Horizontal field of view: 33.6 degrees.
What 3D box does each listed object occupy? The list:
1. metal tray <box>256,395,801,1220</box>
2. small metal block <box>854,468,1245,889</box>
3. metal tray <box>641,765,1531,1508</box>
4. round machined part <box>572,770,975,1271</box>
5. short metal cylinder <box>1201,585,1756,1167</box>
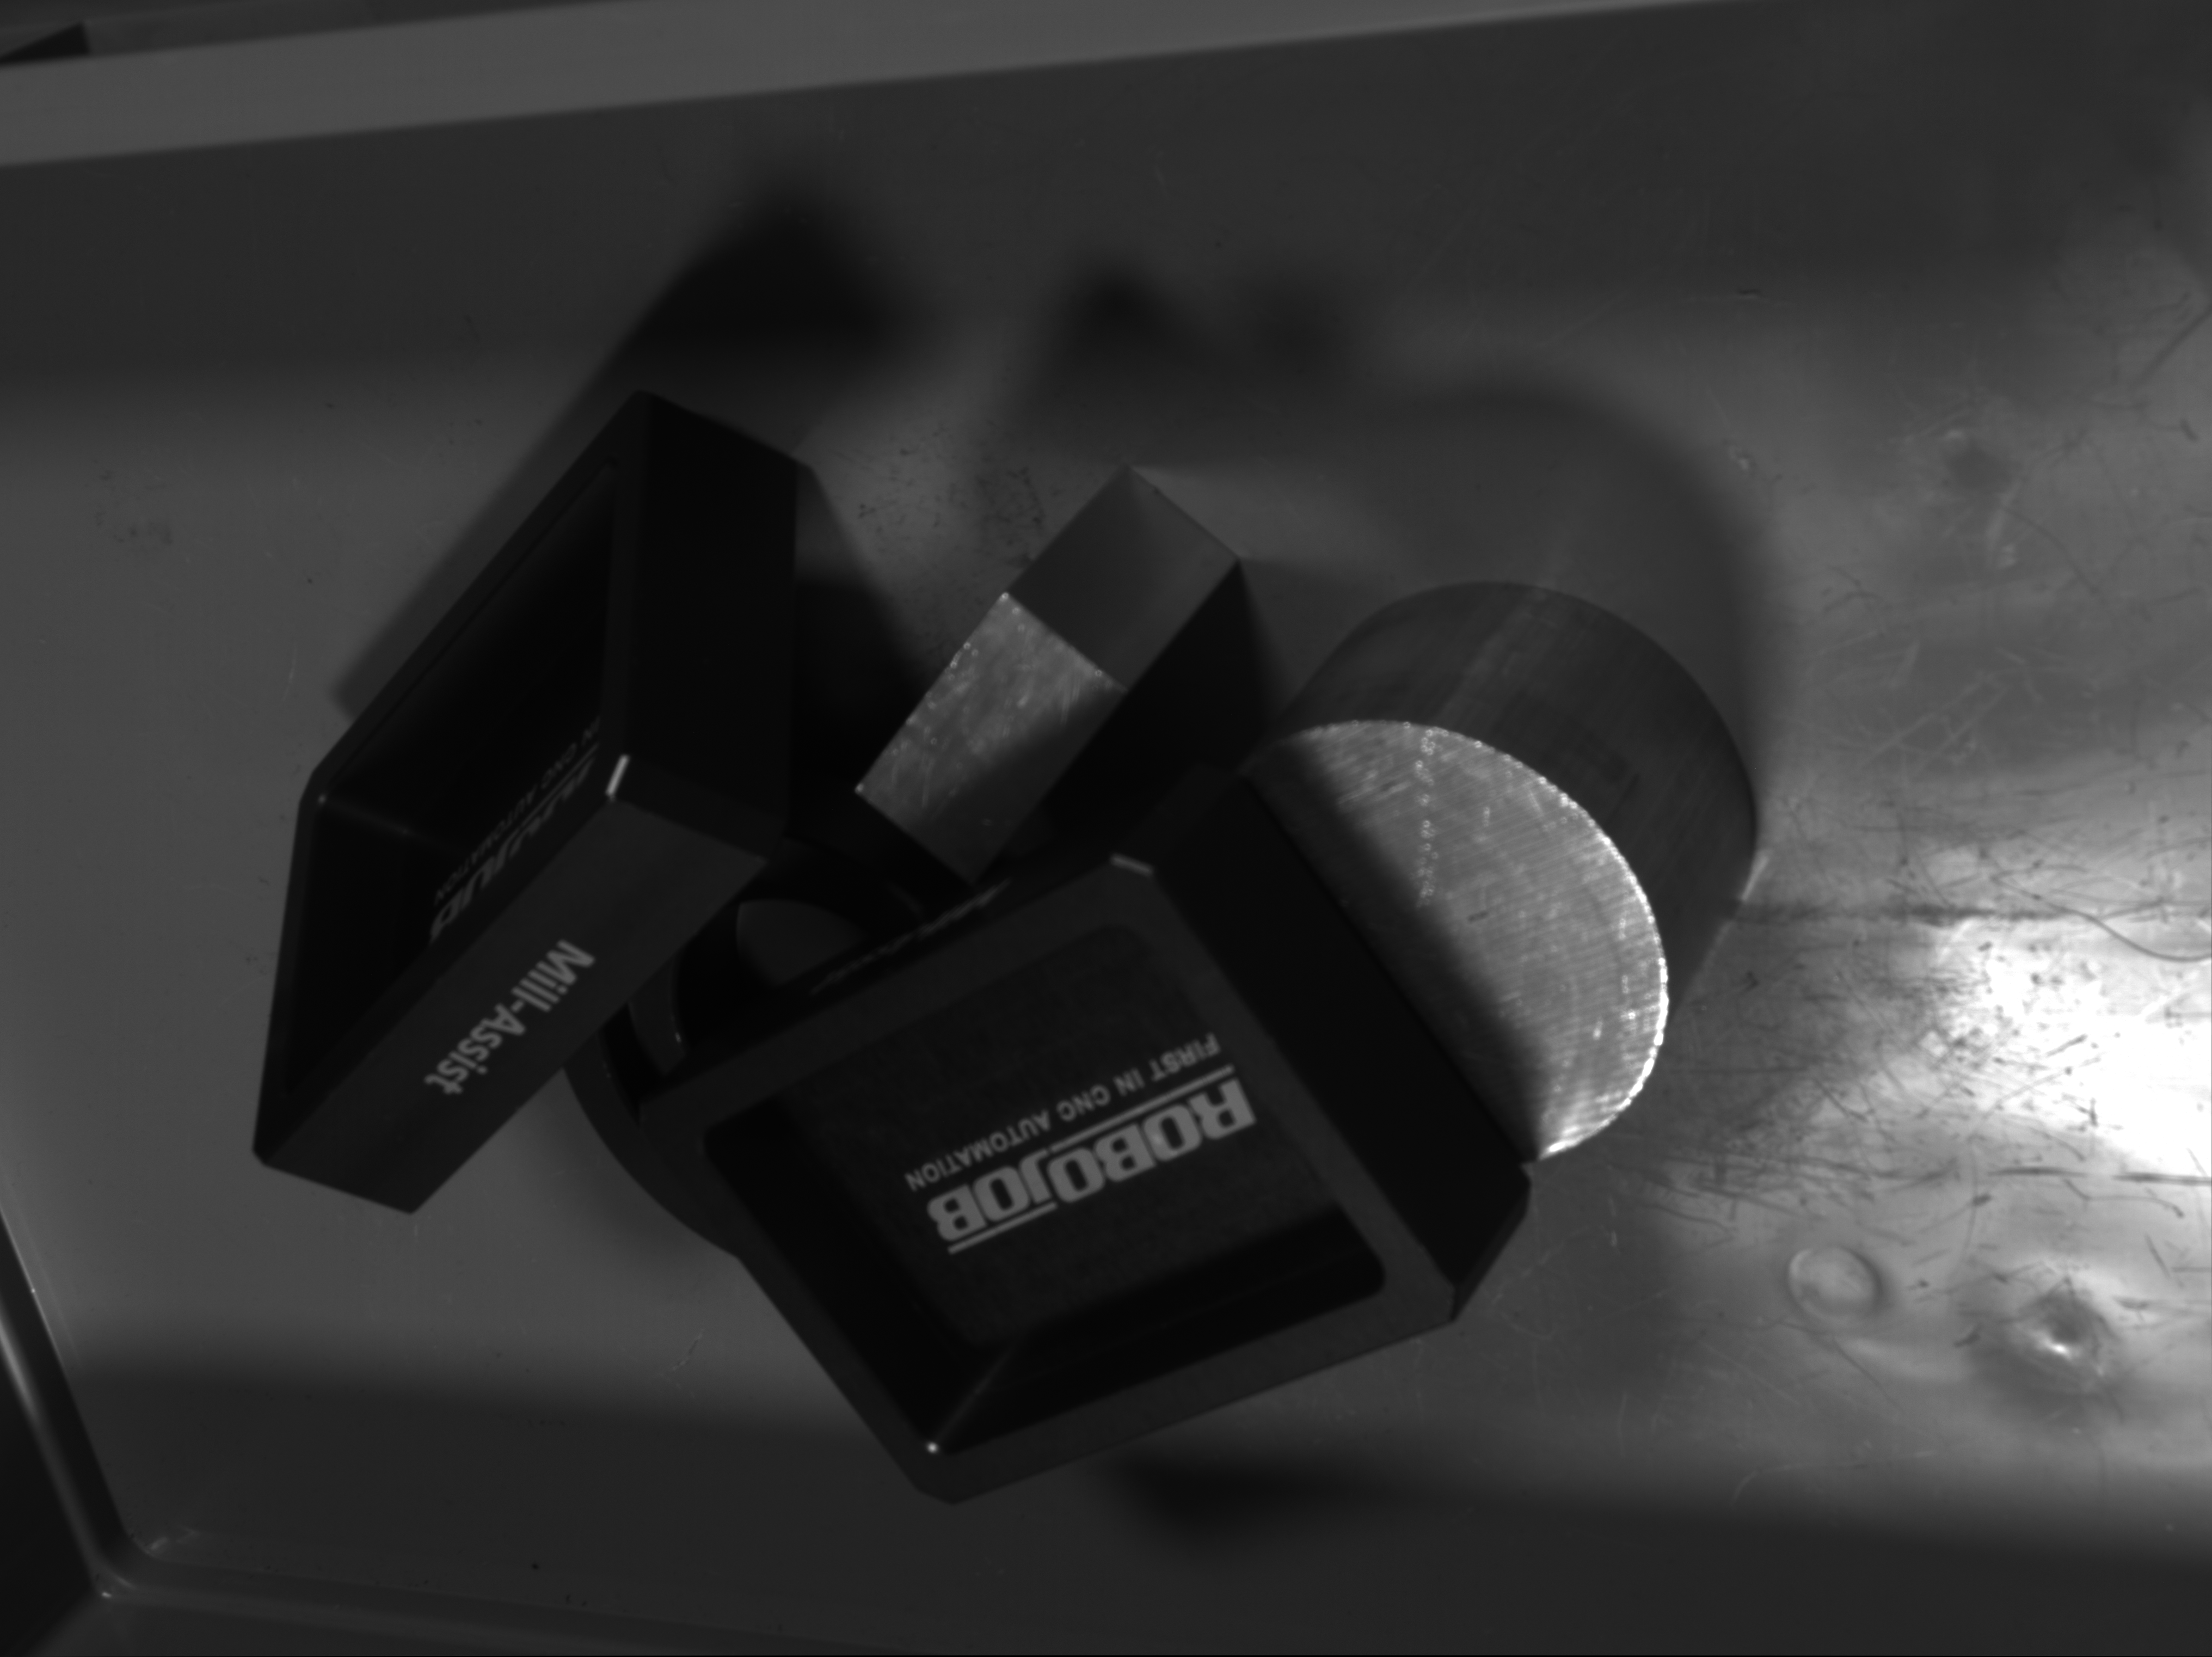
[{"bbox_3d":[-0.101,-0.002,0.635,0.030,0.090,0.130,24,134,-28],"label":"metal tray"},{"bbox_3d":[-0.009,-0.025,0.602,0.025,0.050,0.050,40,127,0],"label":"small metal block"},{"bbox_3d":[-0.006,0.054,0.602,0.130,0.030,0.090,-28,103,41],"label":"metal tray"},{"bbox_3d":[-0.048,0.032,0.663,0.098,0.042,0.098,12,123,20],"label":"round machined part"},{"bbox_3d":[0.059,0.008,0.588,0.080,0.050,0.080,12,123,20],"label":"short metal cylinder"}]
